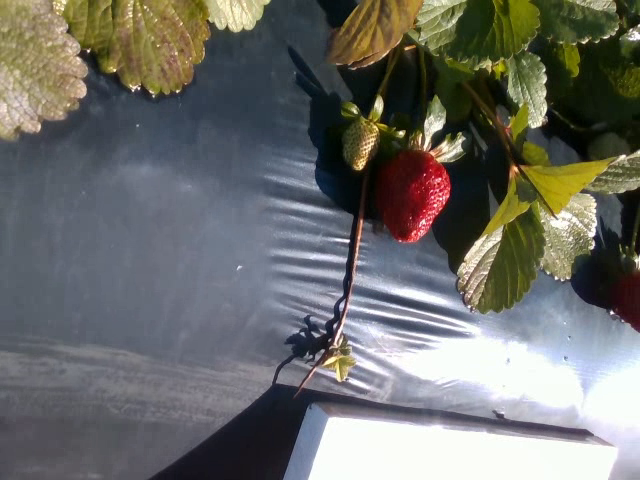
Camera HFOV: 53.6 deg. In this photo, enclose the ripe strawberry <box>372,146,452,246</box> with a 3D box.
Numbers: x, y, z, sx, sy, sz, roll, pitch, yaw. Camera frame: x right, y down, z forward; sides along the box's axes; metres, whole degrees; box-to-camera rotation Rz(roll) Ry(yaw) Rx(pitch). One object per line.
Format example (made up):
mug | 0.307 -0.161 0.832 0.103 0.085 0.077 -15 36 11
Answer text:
ripe strawberry | 0.043 -0.019 0.293 0.043 0.053 0.042 -29 -43 34
